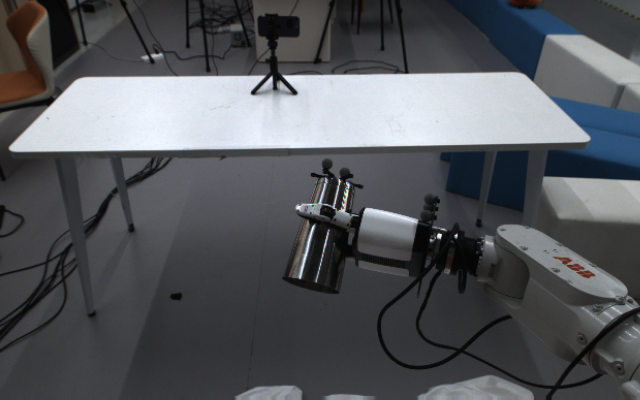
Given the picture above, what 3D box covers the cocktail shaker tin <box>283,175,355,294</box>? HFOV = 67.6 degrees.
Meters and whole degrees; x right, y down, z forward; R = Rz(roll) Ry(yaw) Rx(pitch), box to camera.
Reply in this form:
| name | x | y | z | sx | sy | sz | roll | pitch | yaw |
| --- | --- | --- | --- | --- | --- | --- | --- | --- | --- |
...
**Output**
| name | x | y | z | sx | sy | sz | roll | pitch | yaw |
| --- | --- | --- | --- | --- | --- | --- | --- | --- | --- |
| cocktail shaker tin | 0.006 | 0.054 | 0.766 | 0.093 | 0.093 | 0.170 | 10 | 71 | 12 |
